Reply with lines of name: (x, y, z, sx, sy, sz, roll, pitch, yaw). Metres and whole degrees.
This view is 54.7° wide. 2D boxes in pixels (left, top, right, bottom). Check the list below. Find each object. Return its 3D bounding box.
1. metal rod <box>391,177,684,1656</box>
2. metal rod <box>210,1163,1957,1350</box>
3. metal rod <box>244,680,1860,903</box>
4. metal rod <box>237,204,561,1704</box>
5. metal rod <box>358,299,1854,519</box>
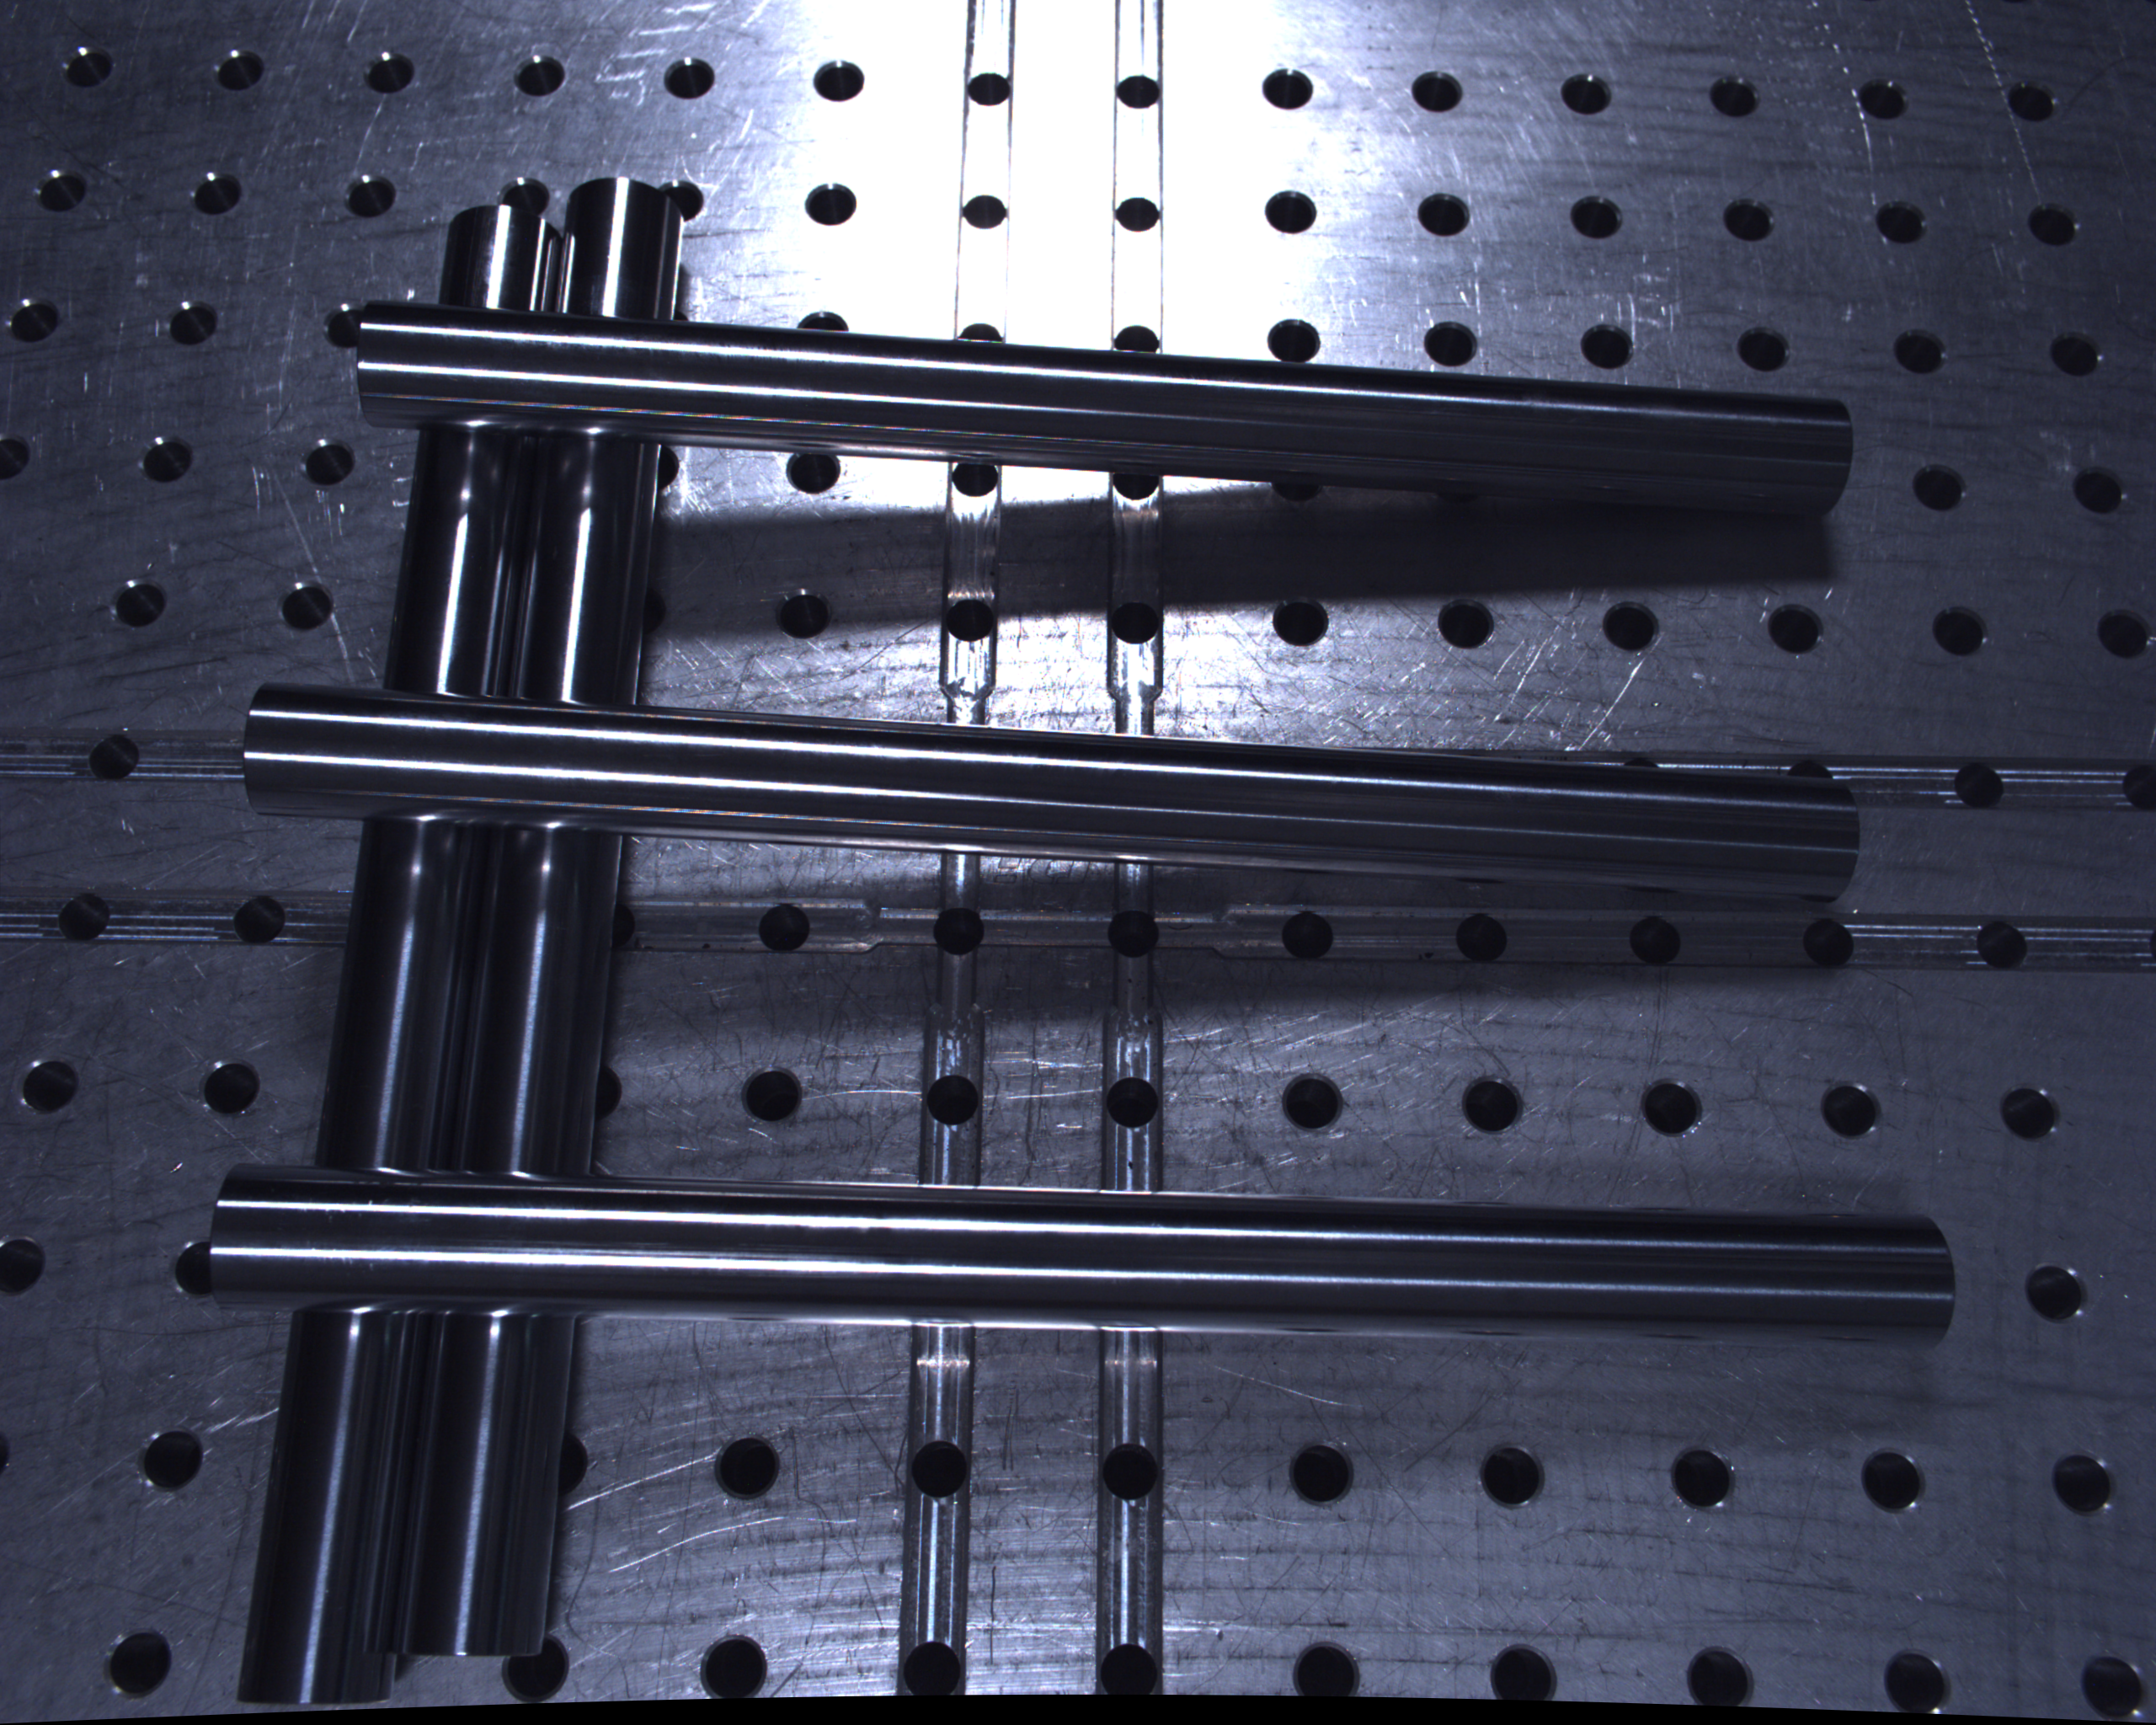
metal rod: (-0.103, -0.004, 0.411, 0.025, 0.025, 0.299, 1, 70, 0)
metal rod: (0.006, 0.071, 0.371, 0.302, 0.025, 0.025, 3, 70, -6)
metal rod: (0.000, -0.013, 0.400, 0.302, 0.025, 0.025, 3, 70, -6)
metal rod: (-0.128, 0.003, 0.408, 0.025, 0.025, 0.299, 1, 70, 0)
metal rod: (0.010, -0.093, 0.430, 0.302, 0.025, 0.025, 3, 70, -6)
